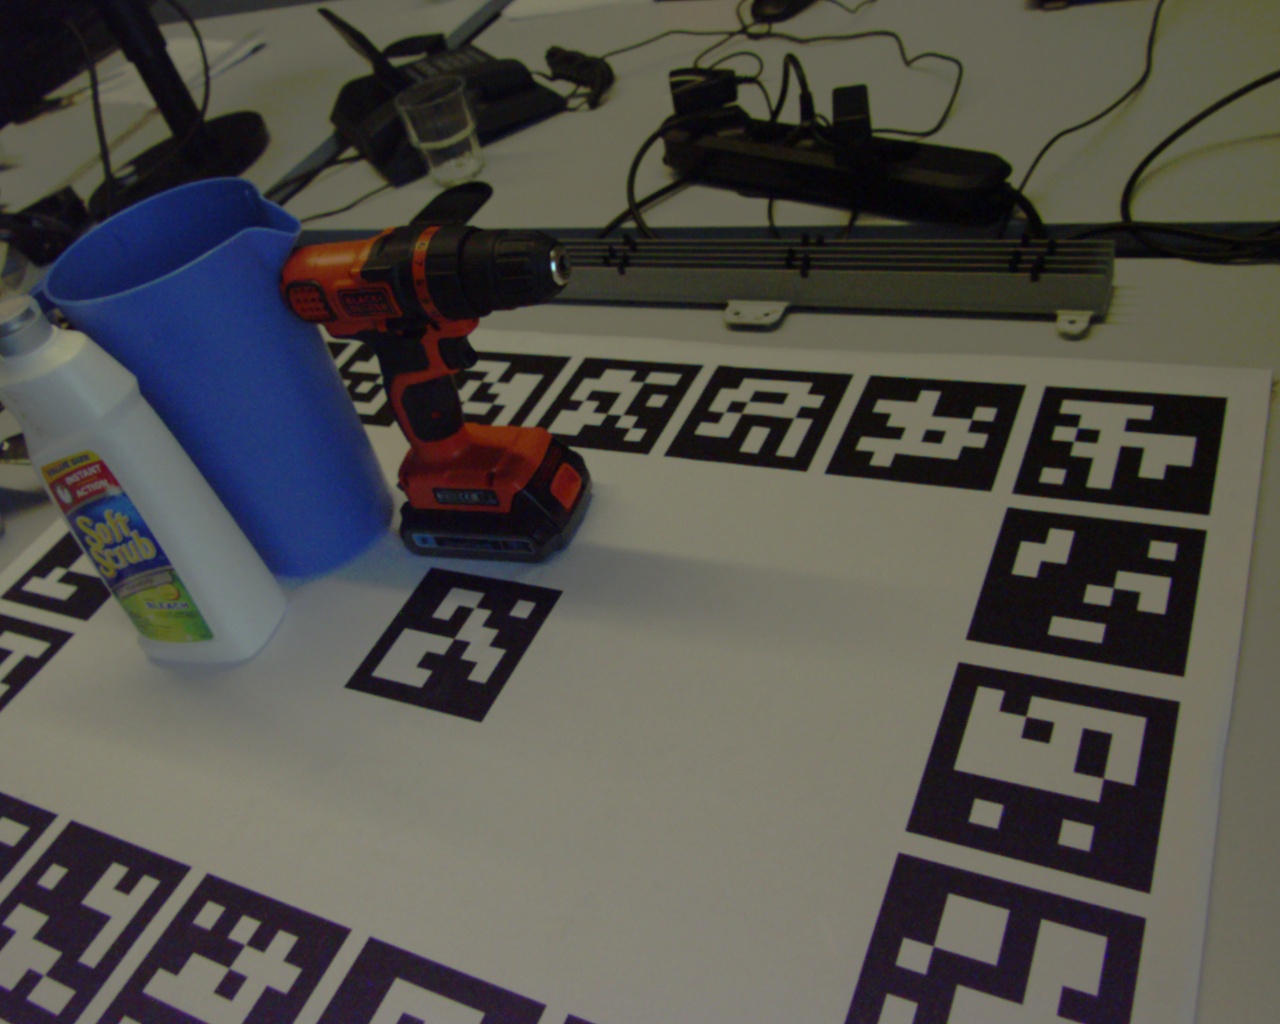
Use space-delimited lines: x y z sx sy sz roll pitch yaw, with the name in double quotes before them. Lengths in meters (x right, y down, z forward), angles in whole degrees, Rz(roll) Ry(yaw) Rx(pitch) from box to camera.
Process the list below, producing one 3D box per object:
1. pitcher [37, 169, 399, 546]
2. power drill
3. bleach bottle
"pitcher" -0.267 -0.089 0.761 0.189 0.240 0.134 -13 44 9
"power drill" -0.109 -0.076 0.698 0.186 0.185 0.057 7 51 20
"bleach bottle" -0.322 -0.032 0.694 0.104 0.248 0.068 1 46 23
